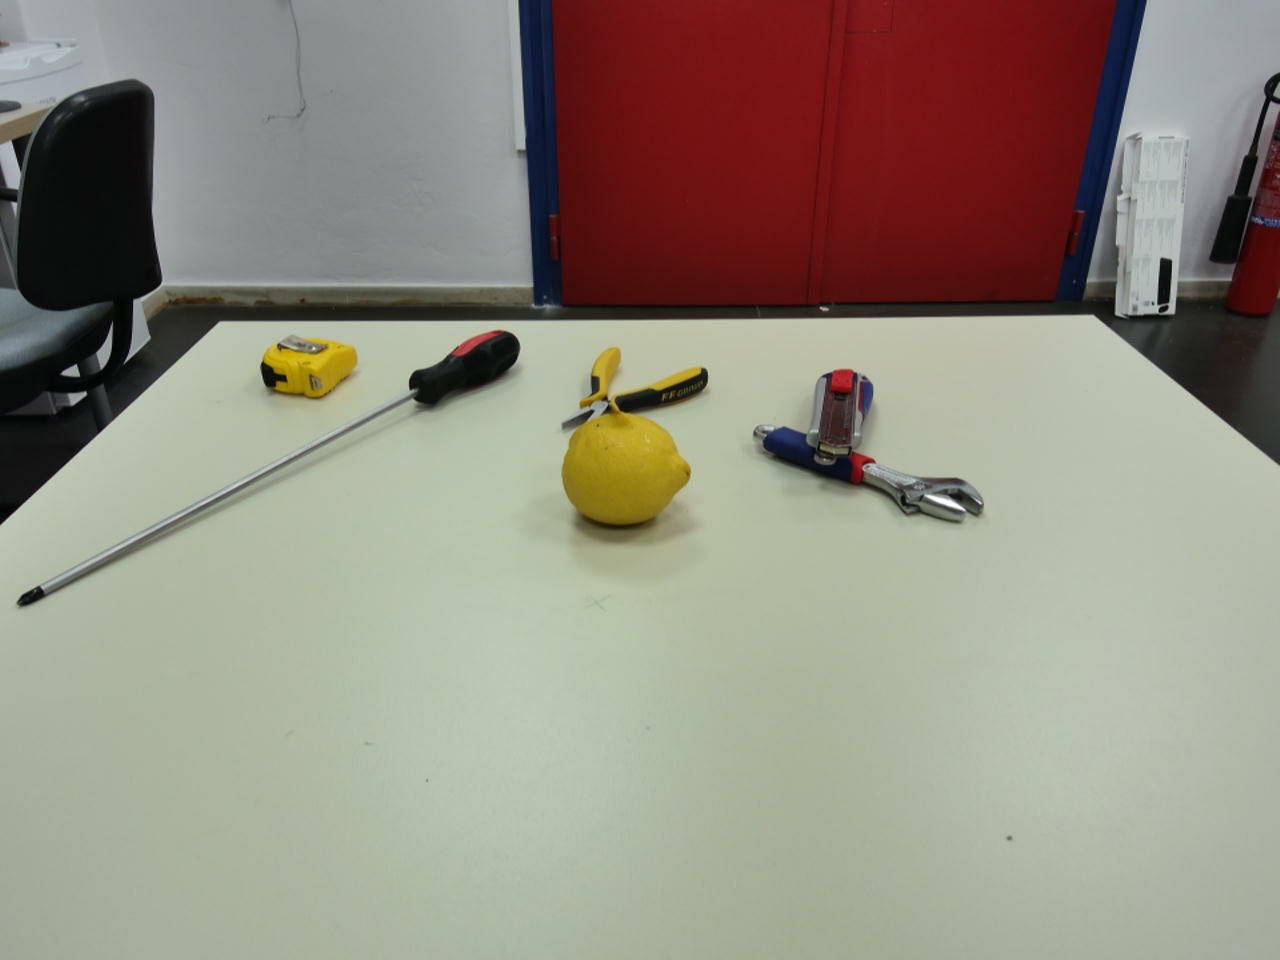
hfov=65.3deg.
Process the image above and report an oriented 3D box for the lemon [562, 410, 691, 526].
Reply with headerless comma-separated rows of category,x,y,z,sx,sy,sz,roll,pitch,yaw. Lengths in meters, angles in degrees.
lemon,-0.011,-0.010,0.599,0.070,0.071,0.071,-18,31,-30
